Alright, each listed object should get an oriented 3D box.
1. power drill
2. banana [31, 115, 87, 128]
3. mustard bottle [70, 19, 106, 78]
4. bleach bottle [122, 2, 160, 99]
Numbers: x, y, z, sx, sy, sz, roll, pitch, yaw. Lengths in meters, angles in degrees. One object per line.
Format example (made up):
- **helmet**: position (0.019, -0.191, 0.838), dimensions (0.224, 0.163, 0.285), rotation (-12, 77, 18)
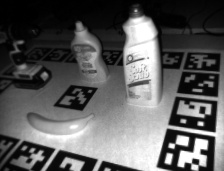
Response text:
- **power drill**: position (-0.278, -0.119, 0.688), dimensions (0.183, 0.189, 0.057), rotation (-2, 41, 20)
- **banana**: position (-0.146, 0.078, 0.570), dimensions (0.195, 0.039, 0.074), rotation (-1, 43, 20)
- **mustard bottle**: position (-0.082, -0.112, 0.670), dimensions (0.095, 0.193, 0.058), rotation (0, 42, 15)
- **bleach bottle**: position (0.064, -0.078, 0.537), dimensions (0.101, 0.253, 0.068), rotation (11, 46, 28)
